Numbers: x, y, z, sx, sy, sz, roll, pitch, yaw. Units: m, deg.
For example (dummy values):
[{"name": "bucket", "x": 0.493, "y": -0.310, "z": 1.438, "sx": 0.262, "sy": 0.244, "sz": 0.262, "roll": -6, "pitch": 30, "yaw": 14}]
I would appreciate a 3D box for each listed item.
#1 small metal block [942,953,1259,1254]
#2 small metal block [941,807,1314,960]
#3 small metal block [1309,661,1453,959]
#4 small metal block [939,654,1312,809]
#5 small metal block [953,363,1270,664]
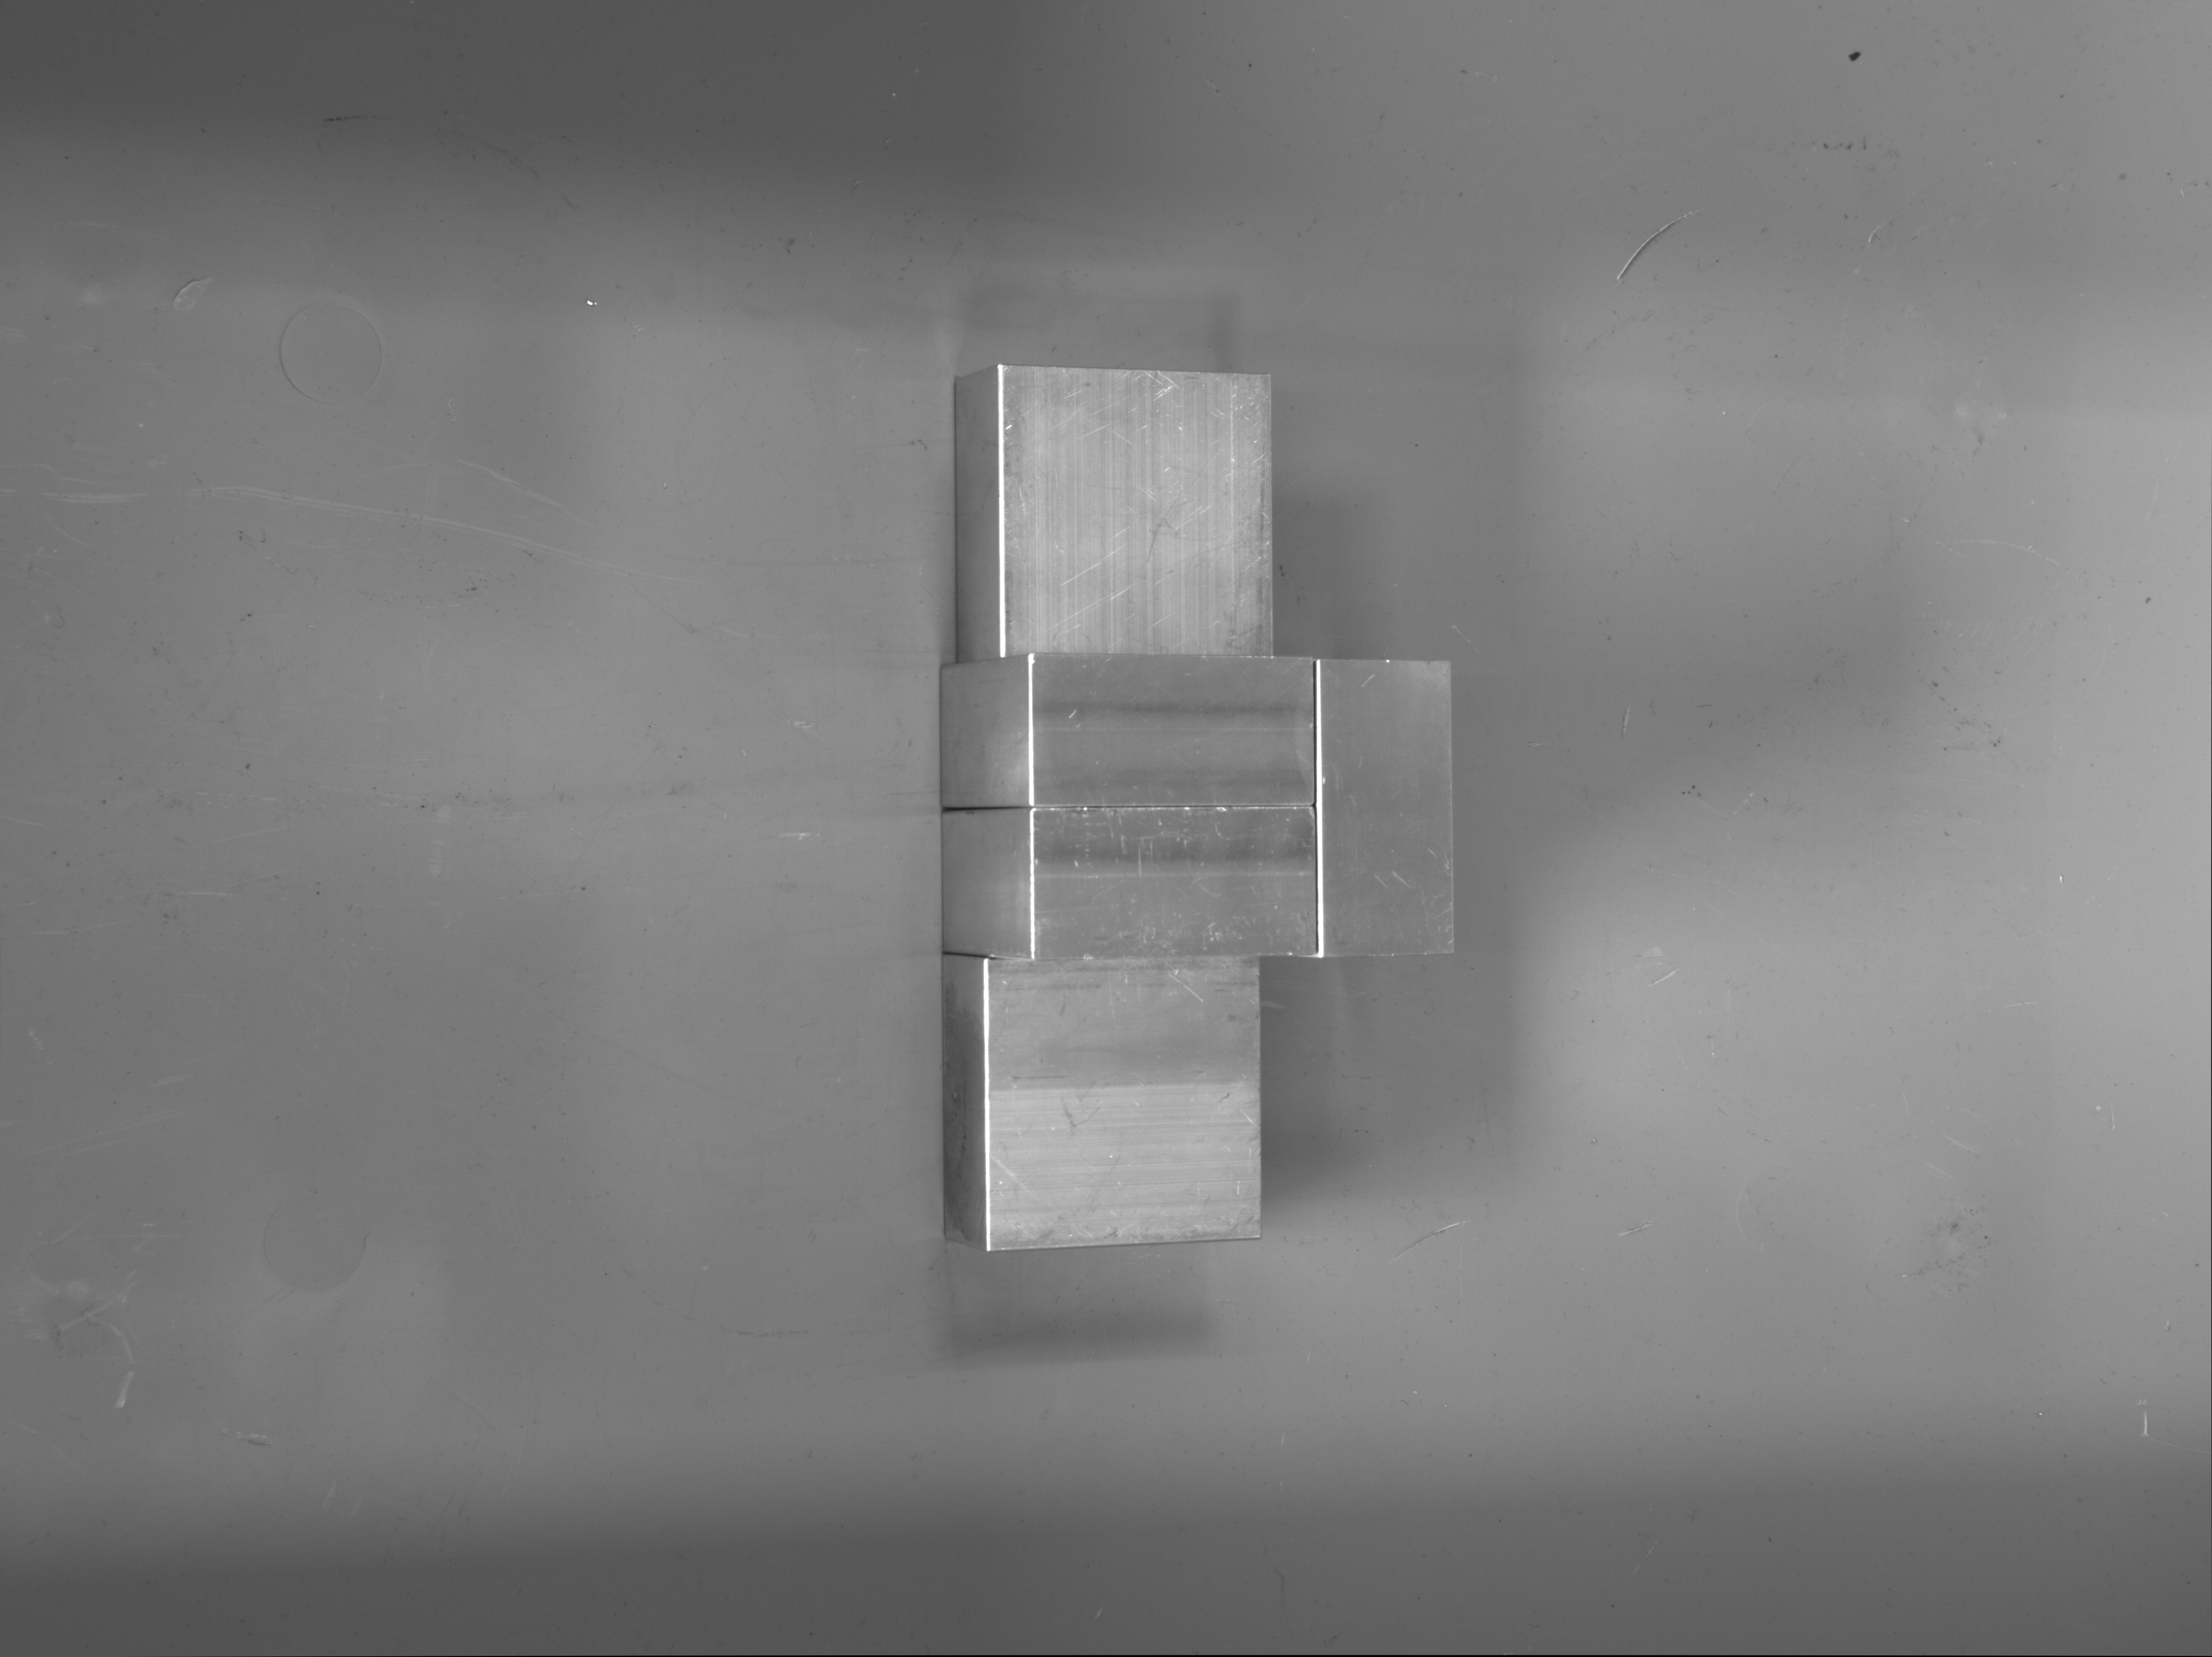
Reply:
[{"name": "small metal block", "x": -0.001, "y": 0.047, "z": 0.641, "sx": 0.050, "sy": 0.025, "sz": 0.050, "roll": 0, "pitch": 90, "yaw": -20}, {"name": "small metal block", "x": 0.003, "y": 0.009, "z": 0.629, "sx": 0.050, "sy": 0.050, "sz": 0.025, "roll": 0, "pitch": 90, "yaw": -20}, {"name": "small metal block", "x": 0.039, "y": -0.003, "z": 0.642, "sx": 0.025, "sy": 0.050, "sz": 0.050, "roll": 0, "pitch": 90, "yaw": -20}, {"name": "small metal block", "x": 0.003, "y": -0.016, "z": 0.629, "sx": 0.050, "sy": 0.050, "sz": 0.025, "roll": 0, "pitch": 90, "yaw": -20}, {"name": "small metal block", "x": 0.001, "y": -0.054, "z": 0.642, "sx": 0.050, "sy": 0.025, "sz": 0.050, "roll": 0, "pitch": 90, "yaw": -20}]
